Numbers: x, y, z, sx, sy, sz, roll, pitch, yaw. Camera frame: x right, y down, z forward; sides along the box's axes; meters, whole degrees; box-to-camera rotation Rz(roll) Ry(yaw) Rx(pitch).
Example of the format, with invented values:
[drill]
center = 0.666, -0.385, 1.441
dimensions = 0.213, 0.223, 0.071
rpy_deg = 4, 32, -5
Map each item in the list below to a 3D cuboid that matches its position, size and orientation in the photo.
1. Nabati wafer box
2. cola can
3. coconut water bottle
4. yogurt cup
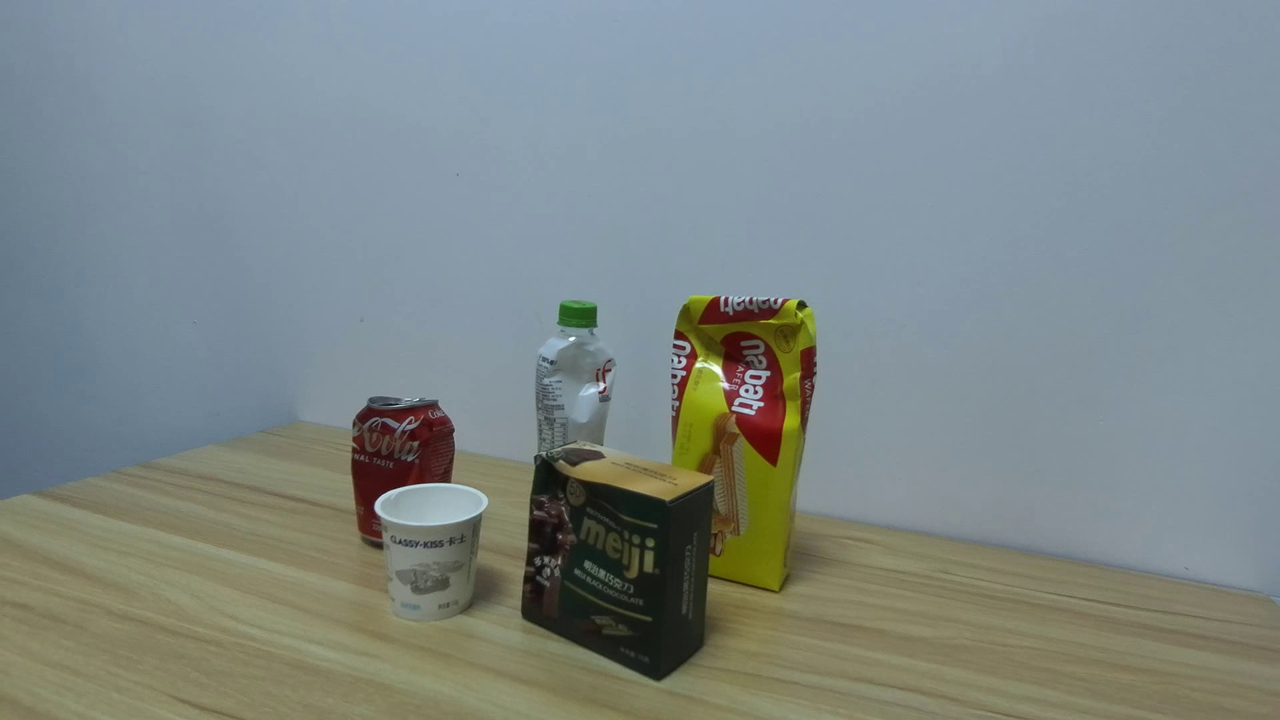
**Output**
[Nabati wafer box]
center = 0.070, 0.058, 0.513
dimensions = 0.113, 0.205, 0.043
rpy_deg = 6, 9, 23
[cola can]
center = -0.183, 0.084, 0.551
dimensions = 0.069, 0.112, 0.066
rpy_deg = 12, 14, 41
[coconut water bottle]
center = -0.055, 0.046, 0.582
dimensions = 0.069, 0.186, 0.069
rpy_deg = 5, 6, 0
[yogurt cup]
center = -0.134, 0.124, 0.457
dimensions = 0.072, 0.068, 0.072
rpy_deg = 3, 10, 0
